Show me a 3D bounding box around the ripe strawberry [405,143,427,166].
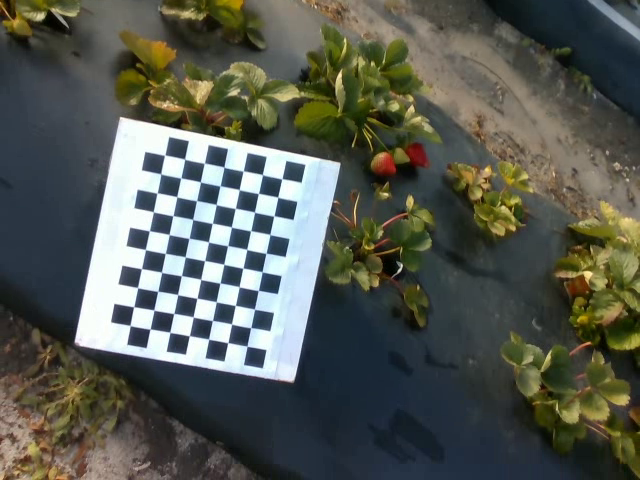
[{"bbox_3d":[0.186,-0.159,1.051,0.048,0.065,0.050,-38,-2,0],"label":"ripe strawberry"}]
